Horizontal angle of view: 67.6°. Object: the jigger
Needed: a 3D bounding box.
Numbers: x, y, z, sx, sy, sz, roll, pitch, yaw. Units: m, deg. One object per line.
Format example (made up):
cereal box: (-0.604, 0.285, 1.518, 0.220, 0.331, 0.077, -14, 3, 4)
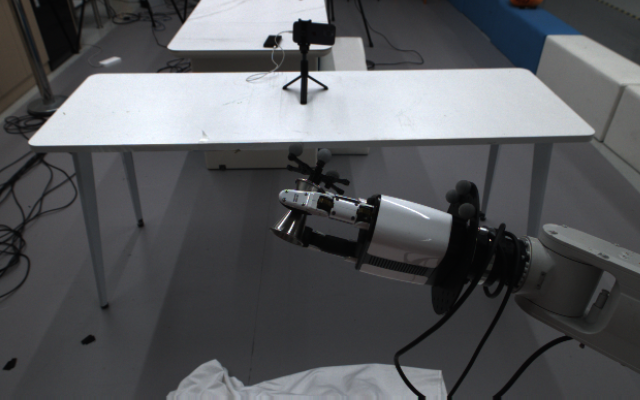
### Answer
jigger: (-0.026, 0.012, 0.564, 0.043, 0.043, 0.071, 20, 72, 23)
